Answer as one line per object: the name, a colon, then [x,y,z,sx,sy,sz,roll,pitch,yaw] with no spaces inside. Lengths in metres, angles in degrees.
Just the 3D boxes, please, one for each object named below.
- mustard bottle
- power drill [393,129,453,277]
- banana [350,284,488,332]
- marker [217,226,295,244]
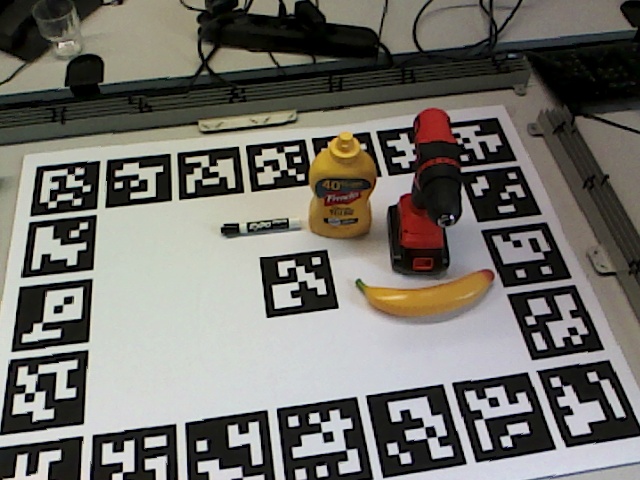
mustard bottle: [0.028,-0.063,0.897,0.096,0.191,0.058,3,56,0]
power drill: [0.141,-0.031,0.855,0.057,0.186,0.185,5,54,1]
banana: [0.143,0.096,0.884,0.197,0.039,0.074,-1,57,2]
marker: [-0.099,-0.008,0.963,0.121,0.019,0.020,-5,57,-3]
